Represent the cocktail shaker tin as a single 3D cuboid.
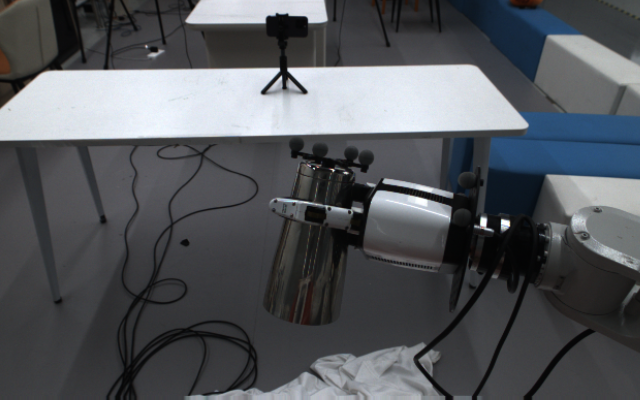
[{"bbox_3d":[-0.003,0.043,0.559,0.093,0.170,0.093,10,9,-2],"label":"cocktail shaker tin"}]
